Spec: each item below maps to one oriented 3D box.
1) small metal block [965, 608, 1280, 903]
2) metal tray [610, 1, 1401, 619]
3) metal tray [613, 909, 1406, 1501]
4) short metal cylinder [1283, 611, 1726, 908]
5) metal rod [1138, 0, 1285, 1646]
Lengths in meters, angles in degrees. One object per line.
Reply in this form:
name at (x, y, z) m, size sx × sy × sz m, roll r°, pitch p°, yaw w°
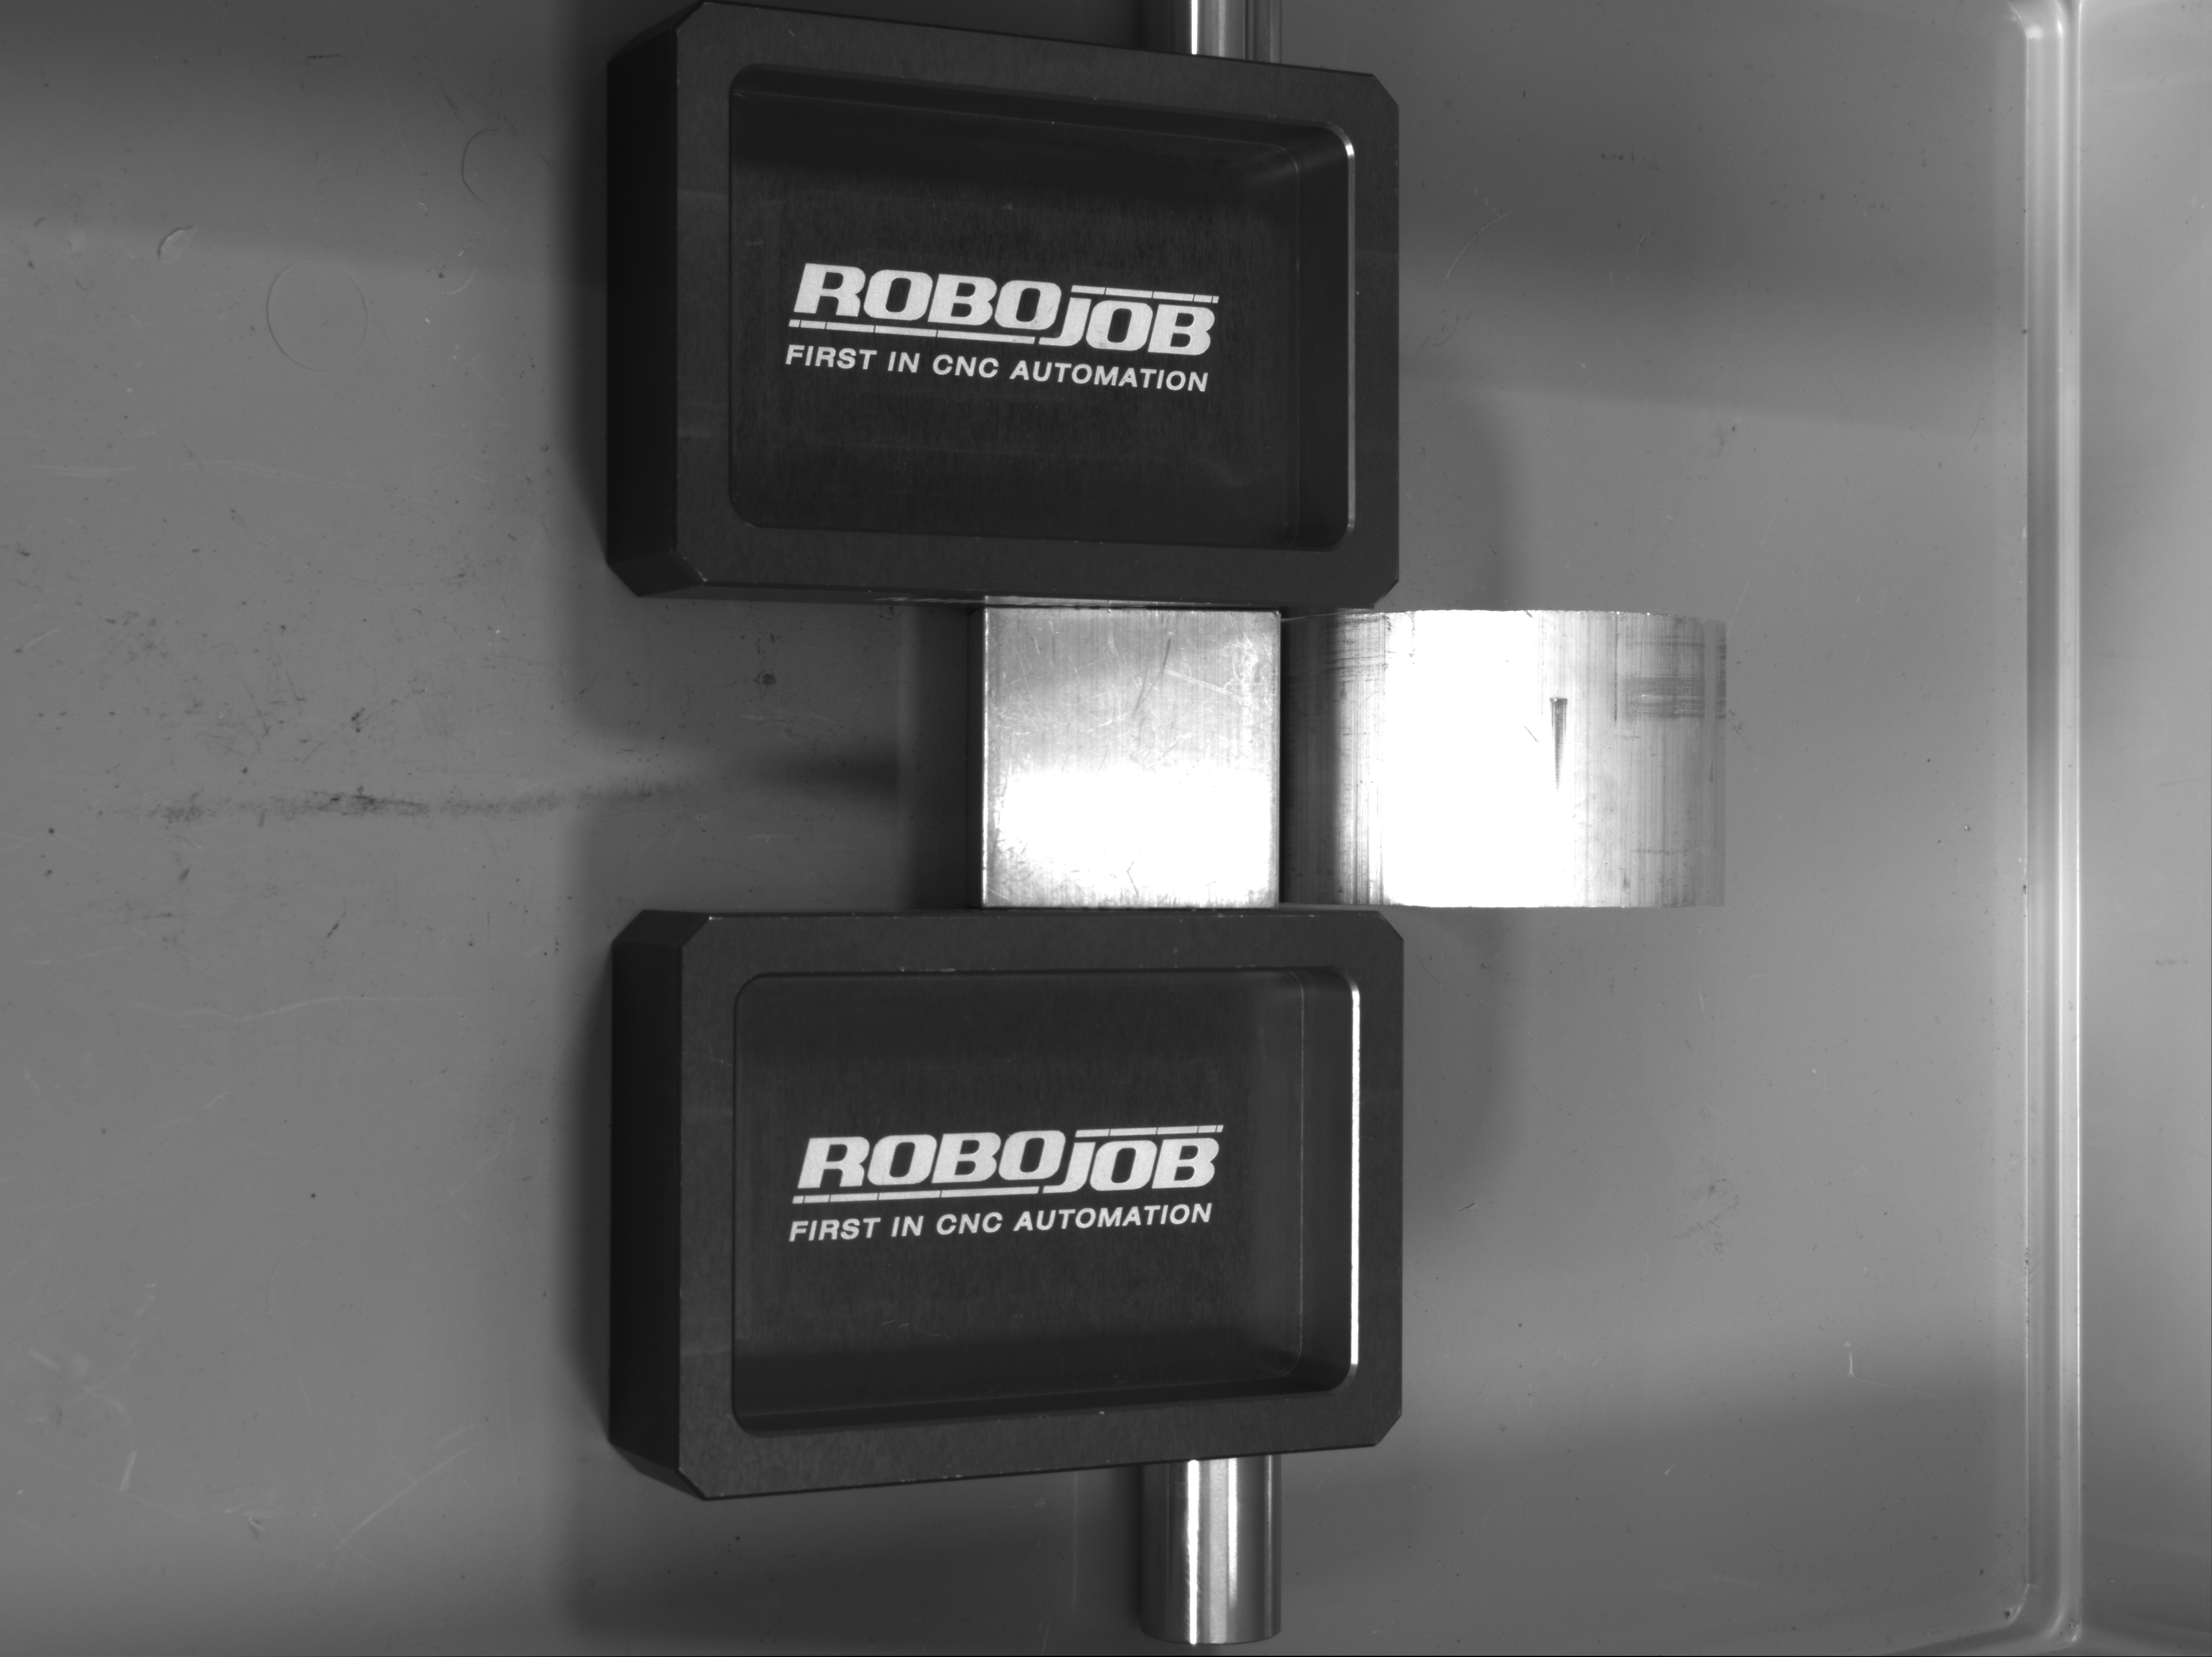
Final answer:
small metal block at (0.002, -0.011, 0.623) m, size 0.050 × 0.025 × 0.050 m, roll 1°, pitch 89°, yaw -8°
metal tray at (-0.015, -0.082, 0.602) m, size 0.130 × 0.030 × 0.090 m, roll 0°, pitch 90°, yaw -27°
metal tray at (-0.014, 0.058, 0.602) m, size 0.130 × 0.030 × 0.090 m, roll 1°, pitch 90°, yaw -27°
short metal cylinder at (0.071, -0.011, 0.658) m, size 0.080 × 0.080 × 0.050 m, roll 0°, pitch 90°, yaw -40°
metal rod at (0.019, -0.008, 0.650) m, size 0.025 × 0.025 × 0.300 m, roll 0°, pitch 90°, yaw -40°
